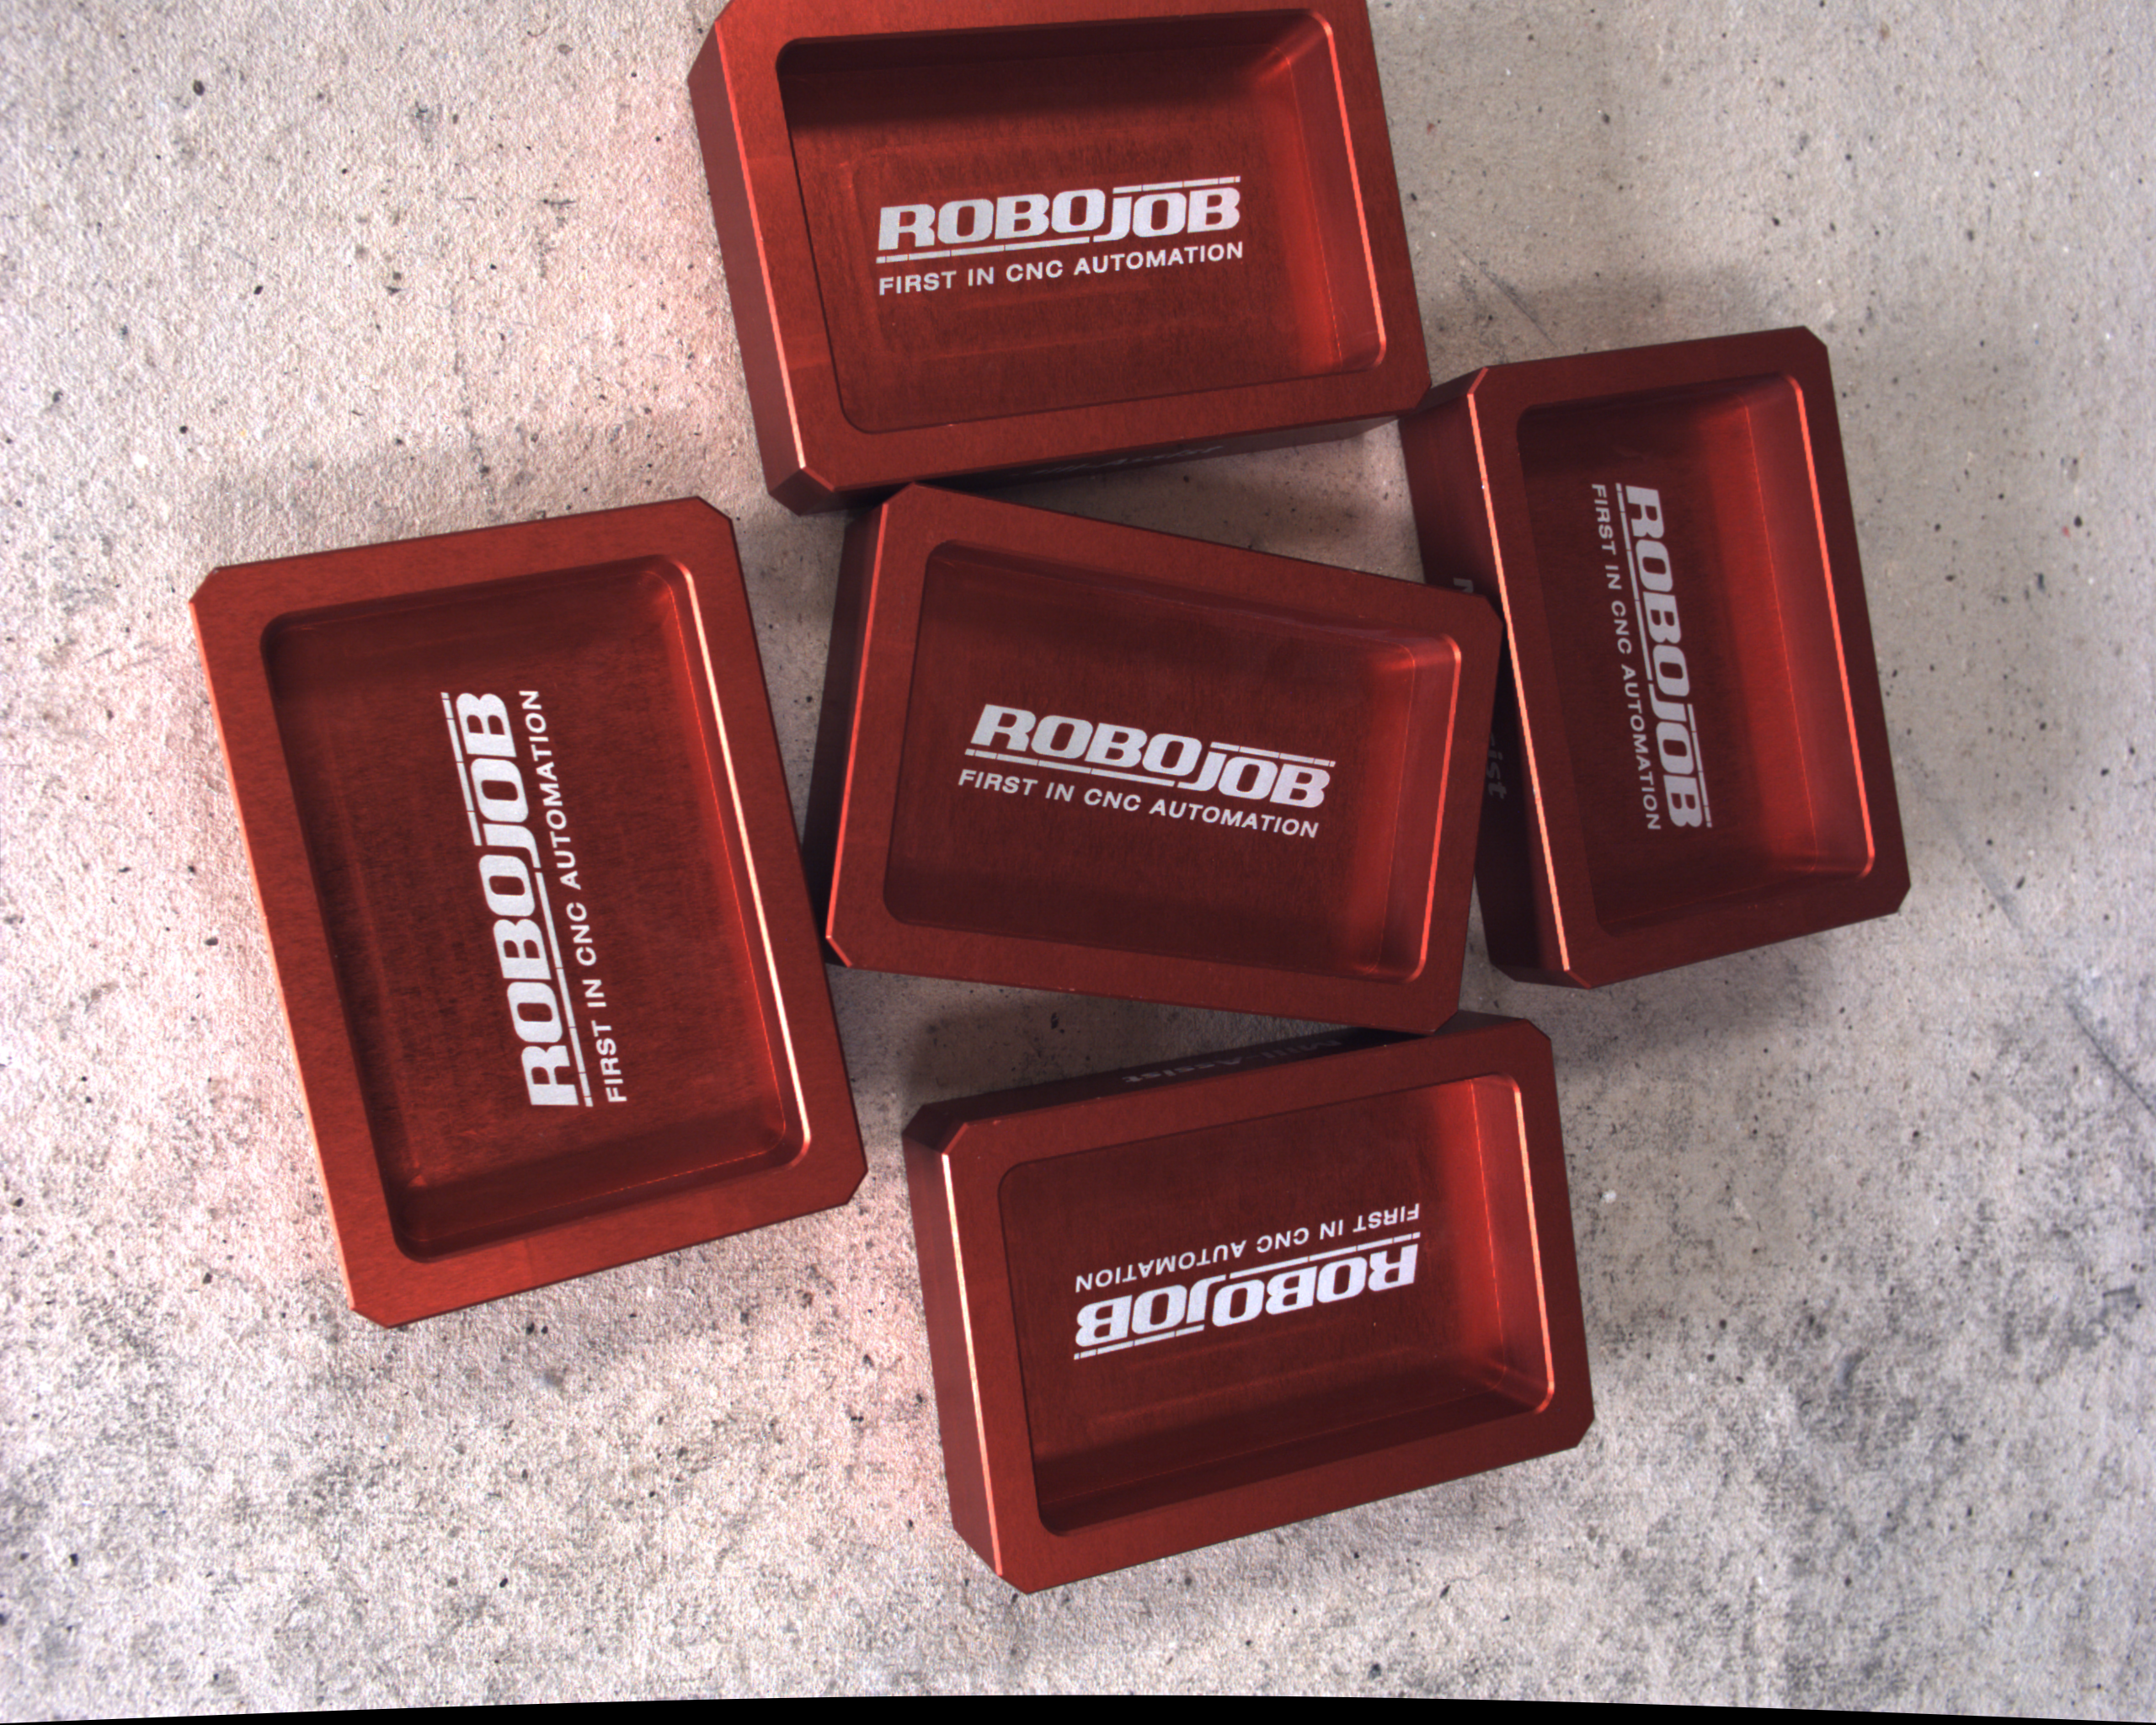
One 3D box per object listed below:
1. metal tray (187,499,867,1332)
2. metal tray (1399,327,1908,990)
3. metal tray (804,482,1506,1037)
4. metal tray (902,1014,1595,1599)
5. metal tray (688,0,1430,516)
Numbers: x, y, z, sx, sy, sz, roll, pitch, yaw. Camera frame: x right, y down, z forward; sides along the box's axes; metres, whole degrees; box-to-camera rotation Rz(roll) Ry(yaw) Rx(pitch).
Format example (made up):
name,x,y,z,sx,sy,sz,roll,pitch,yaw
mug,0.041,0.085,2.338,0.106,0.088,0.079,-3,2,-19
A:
name,x,y,z,sx,sy,sz,roll,pitch,yaw
metal tray,-0.096,0.007,0.372,0.091,0.030,0.129,-13,95,-19
metal tray,0.126,-0.045,0.454,0.091,0.030,0.129,-12,94,-19
metal tray,0.015,-0.018,0.413,0.131,0.030,0.089,8,89,-19
metal tray,0.036,0.085,0.420,0.131,0.030,0.089,-8,93,-20
metal tray,-0.002,-0.122,0.407,0.131,0.030,0.089,-12,94,-19
